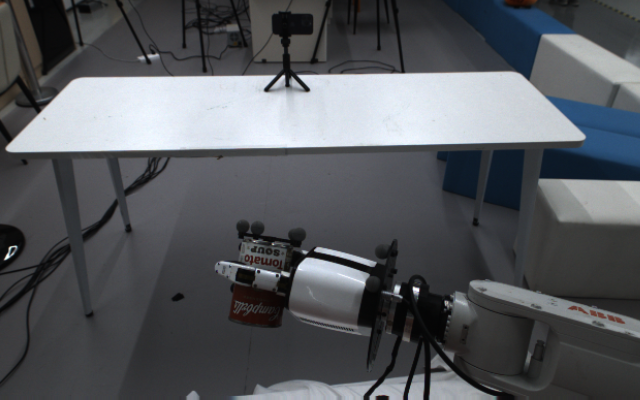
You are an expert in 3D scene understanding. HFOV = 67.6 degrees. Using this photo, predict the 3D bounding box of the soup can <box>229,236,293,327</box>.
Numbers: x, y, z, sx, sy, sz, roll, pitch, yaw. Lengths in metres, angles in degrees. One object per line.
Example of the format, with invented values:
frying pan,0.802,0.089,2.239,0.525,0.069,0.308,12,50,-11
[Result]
soup can,-0.073,0.104,0.609,0.067,0.101,0.067,9,-6,1
